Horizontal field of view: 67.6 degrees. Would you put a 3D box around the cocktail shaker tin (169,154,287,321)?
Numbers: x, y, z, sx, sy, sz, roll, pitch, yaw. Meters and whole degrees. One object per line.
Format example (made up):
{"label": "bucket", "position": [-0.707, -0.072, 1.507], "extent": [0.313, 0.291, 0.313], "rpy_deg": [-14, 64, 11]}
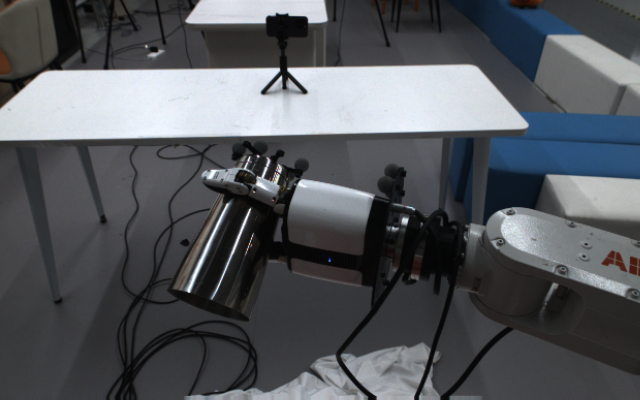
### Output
{"label": "cocktail shaker tin", "position": [-0.088, 0.035, 0.538], "extent": [0.093, 0.093, 0.170], "rpy_deg": [12, 65, 14]}
